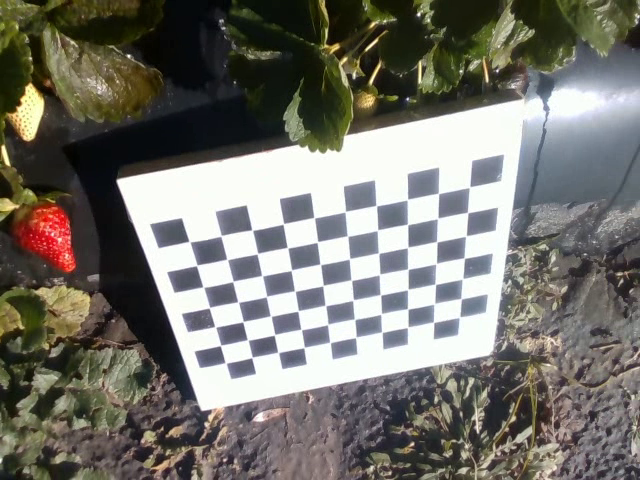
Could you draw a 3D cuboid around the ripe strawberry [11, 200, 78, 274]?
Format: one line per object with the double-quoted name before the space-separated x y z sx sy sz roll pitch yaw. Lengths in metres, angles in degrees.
"ripe strawberry" -0.198 -0.001 0.497 0.048 0.069 0.040 -23 33 10
